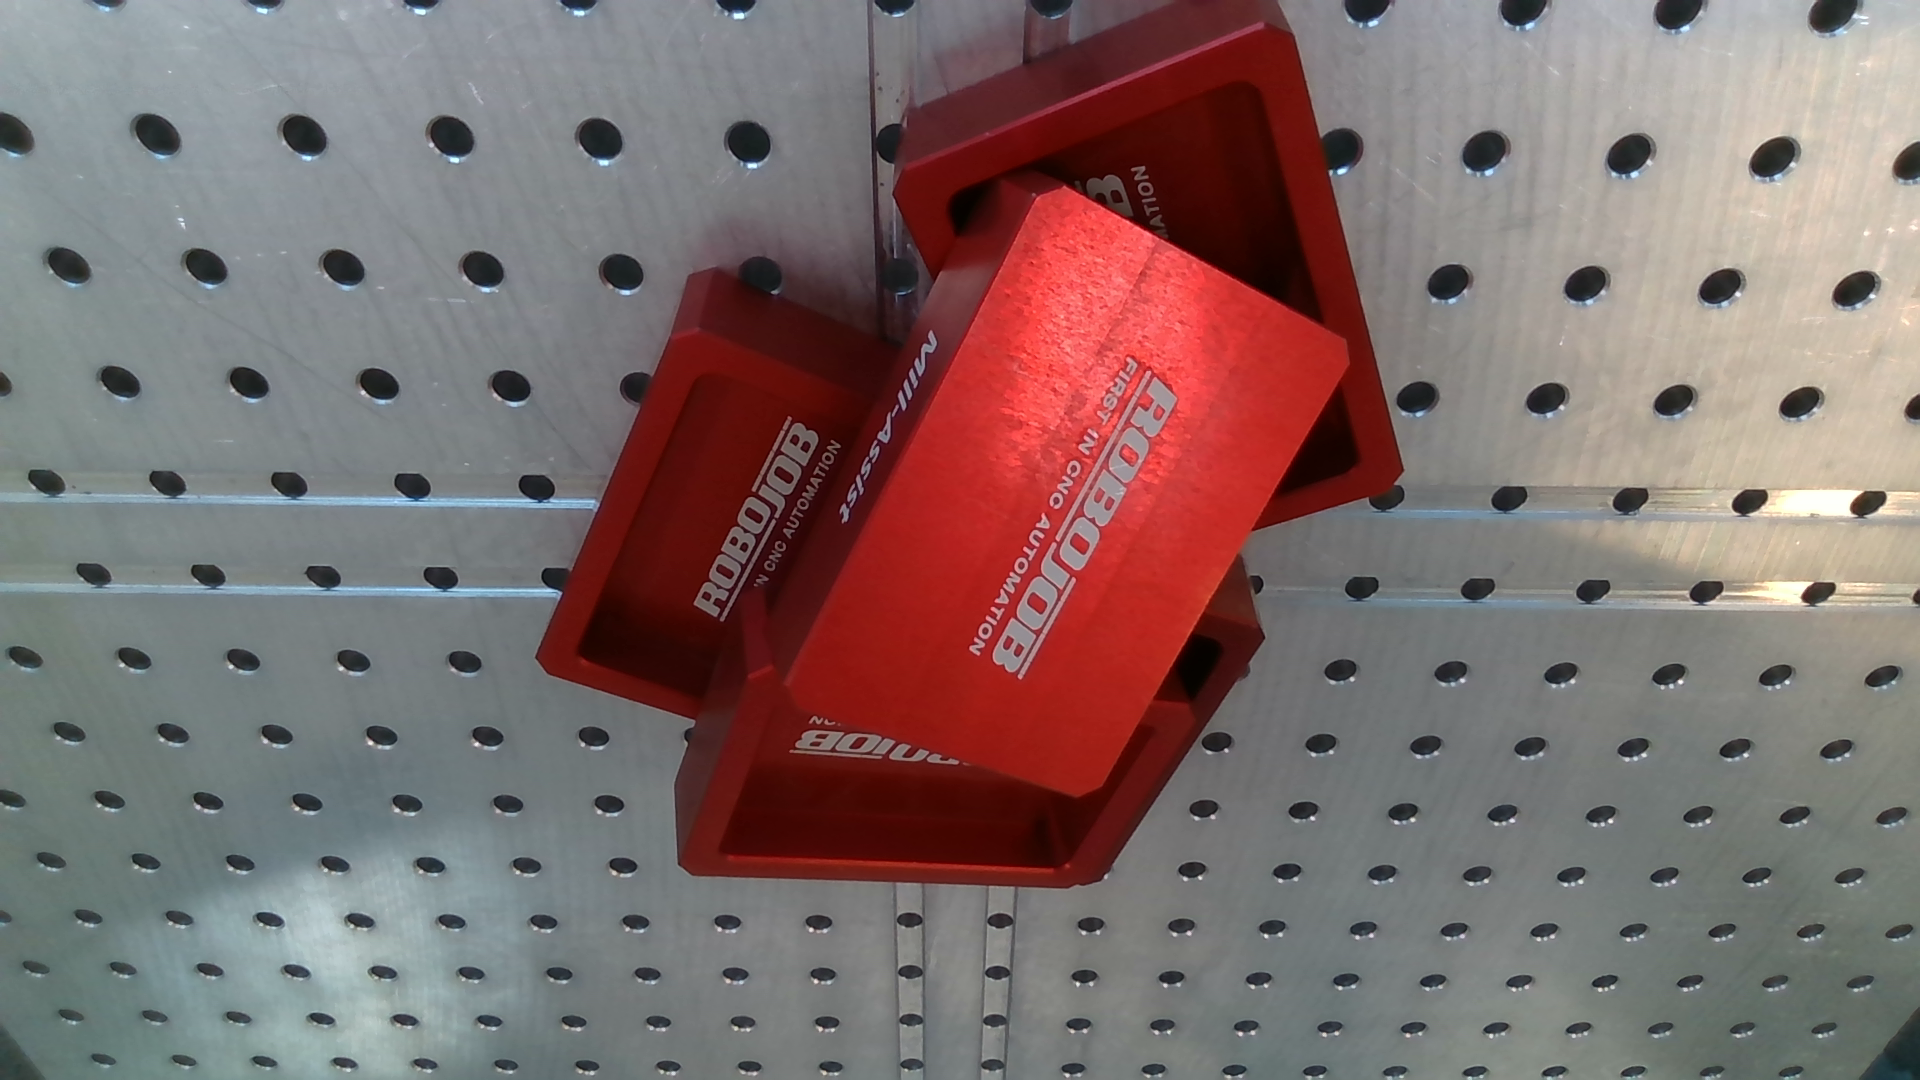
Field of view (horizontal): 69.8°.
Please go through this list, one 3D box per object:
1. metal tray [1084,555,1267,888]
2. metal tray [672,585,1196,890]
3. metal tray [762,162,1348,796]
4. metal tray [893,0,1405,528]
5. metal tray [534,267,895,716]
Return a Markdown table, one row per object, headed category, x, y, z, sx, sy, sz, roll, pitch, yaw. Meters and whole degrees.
| category | x | y | z | sx | sy | sz | roll | pitch | yaw |
| --- | --- | --- | --- | --- | --- | --- | --- | --- | --- |
| metal tray | 0.025 | 0.051 | 0.430 | 0.090 | 0.030 | 0.130 | 15 | 128 | -12 |
| metal tray | -0.010 | 0.061 | 0.399 | 0.130 | 0.030 | 0.090 | 8 | 130 | -22 |
| metal tray | 0.021 | -0.010 | 0.326 | 0.090 | 0.030 | 0.130 | 21 | 105 | -26 |
| metal tray | 0.050 | -0.057 | 0.339 | 0.090 | 0.030 | 0.130 | -18 | 127 | 14 |
| metal tray | -0.056 | -0.002 | 0.386 | 0.090 | 0.030 | 0.130 | 21 | 127 | -17 |
